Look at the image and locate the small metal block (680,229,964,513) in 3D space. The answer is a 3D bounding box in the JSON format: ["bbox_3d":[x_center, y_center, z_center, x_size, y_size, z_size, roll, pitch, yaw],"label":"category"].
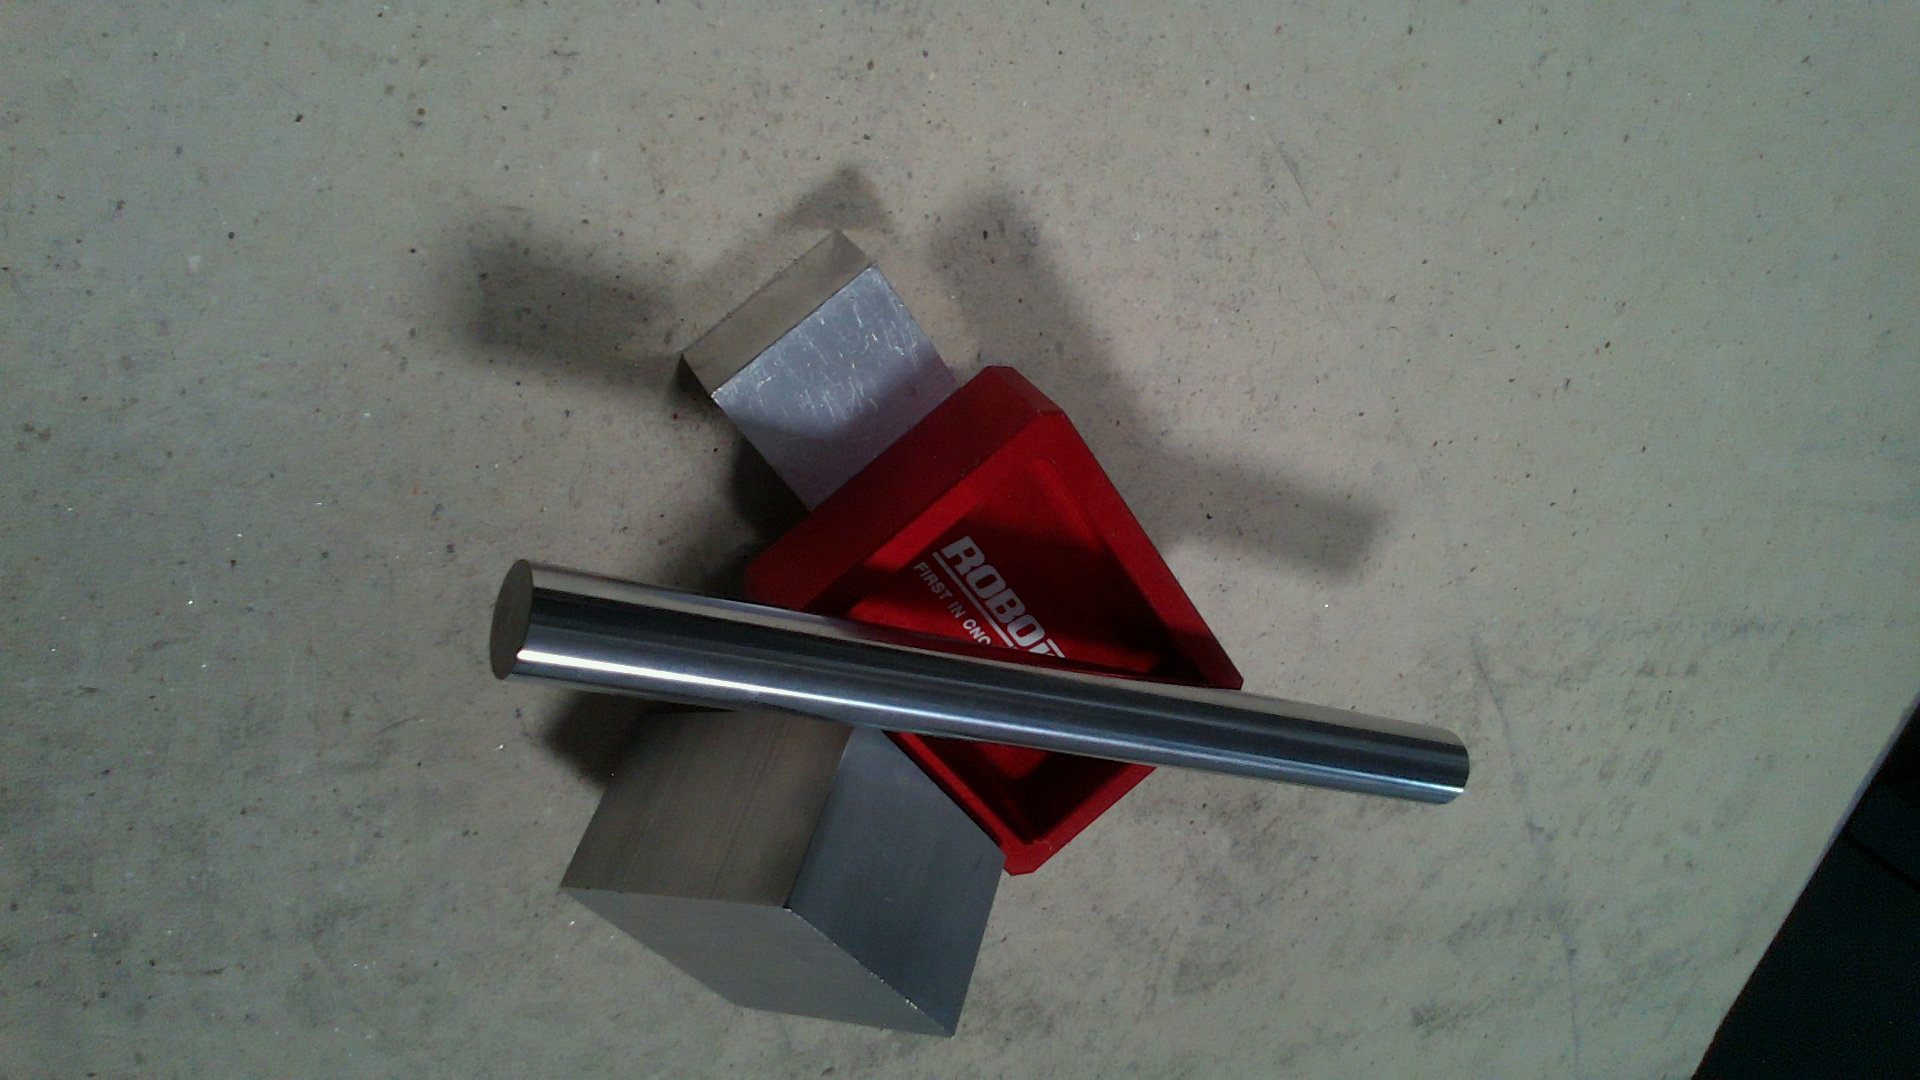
[{"bbox_3d":[-0.033,-0.040,0.347,0.050,0.025,0.050,-39,129,-2],"label":"small metal block"}]

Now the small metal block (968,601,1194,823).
[{"bbox_3d":[0.040,0.056,0.445,0.050,0.025,0.050,-44,129,2],"label":"small metal block"}]

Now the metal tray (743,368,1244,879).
[{"bbox_3d":[0.014,0.028,0.378,0.090,0.030,0.130,-40,129,-1],"label":"metal tray"}]

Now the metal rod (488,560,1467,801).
[{"bbox_3d":[0.031,0.044,0.362,0.301,0.025,0.025,13,112,-34],"label":"metal rod"}]

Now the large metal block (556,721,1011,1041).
[{"bbox_3d":[-0.045,0.092,0.374,0.080,0.080,0.050,51,47,-39],"label":"large metal block"}]
